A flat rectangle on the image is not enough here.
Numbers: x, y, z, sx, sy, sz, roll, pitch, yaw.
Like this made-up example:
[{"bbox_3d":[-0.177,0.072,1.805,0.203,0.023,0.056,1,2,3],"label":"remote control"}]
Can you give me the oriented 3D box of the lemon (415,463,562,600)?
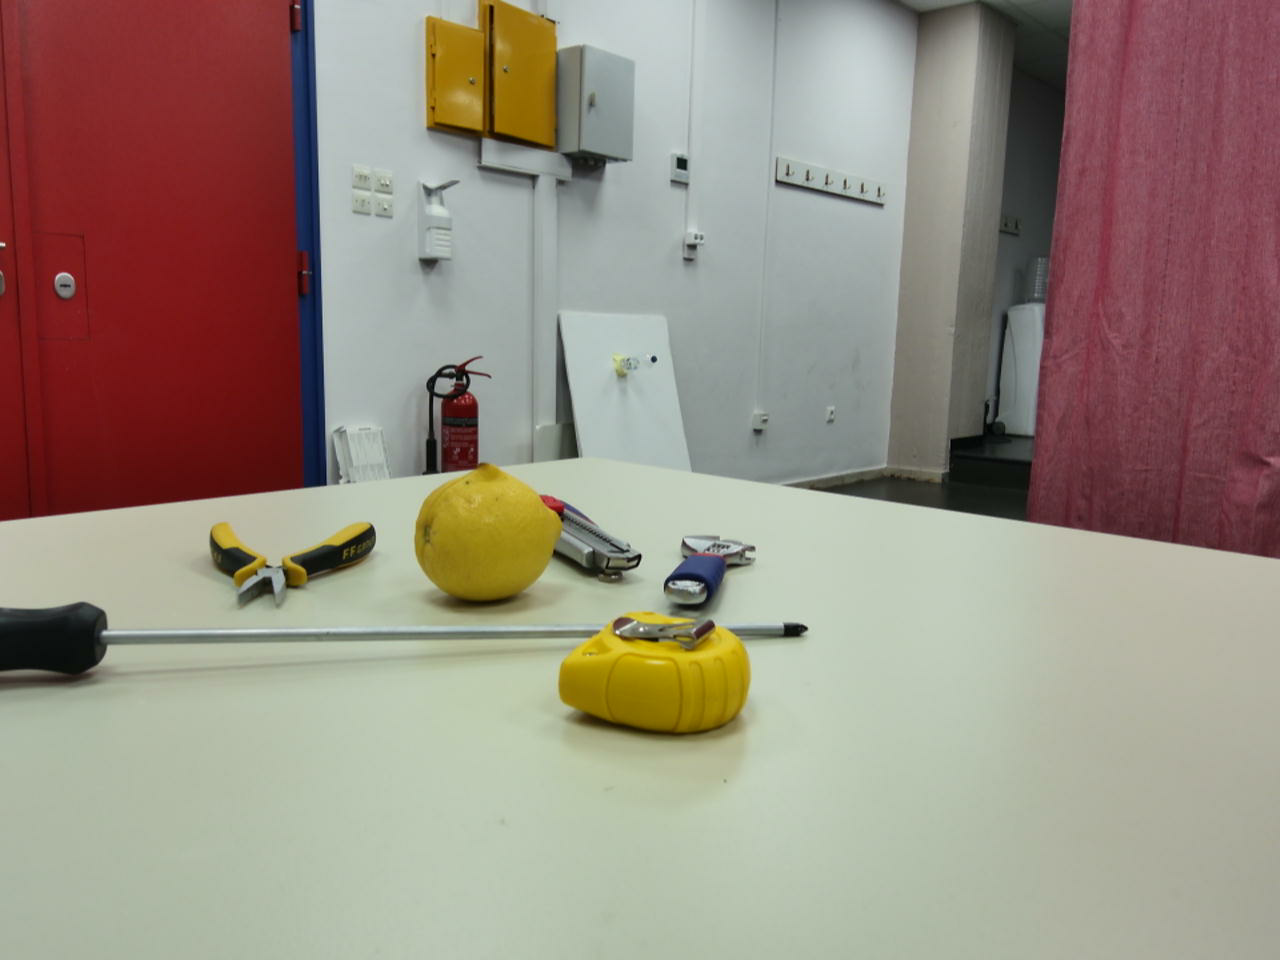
[{"bbox_3d":[-0.081,0.026,0.519,0.071,0.071,0.070,1,7,8],"label":"lemon"}]
